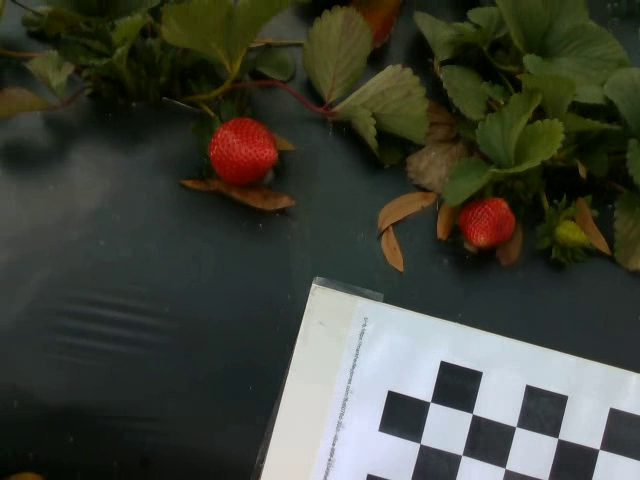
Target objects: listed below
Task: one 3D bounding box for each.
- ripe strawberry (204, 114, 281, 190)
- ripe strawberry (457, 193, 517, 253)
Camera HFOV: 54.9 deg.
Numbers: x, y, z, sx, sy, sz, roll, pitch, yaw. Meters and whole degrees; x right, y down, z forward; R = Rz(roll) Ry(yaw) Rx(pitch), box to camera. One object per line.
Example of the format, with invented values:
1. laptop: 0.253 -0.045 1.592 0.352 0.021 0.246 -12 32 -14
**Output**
1. ripe strawberry: -0.043 -0.054 0.381 0.042 0.047 0.065 22 -2 -36
2. ripe strawberry: 0.104 -0.007 0.375 0.040 0.037 0.042 26 38 2
